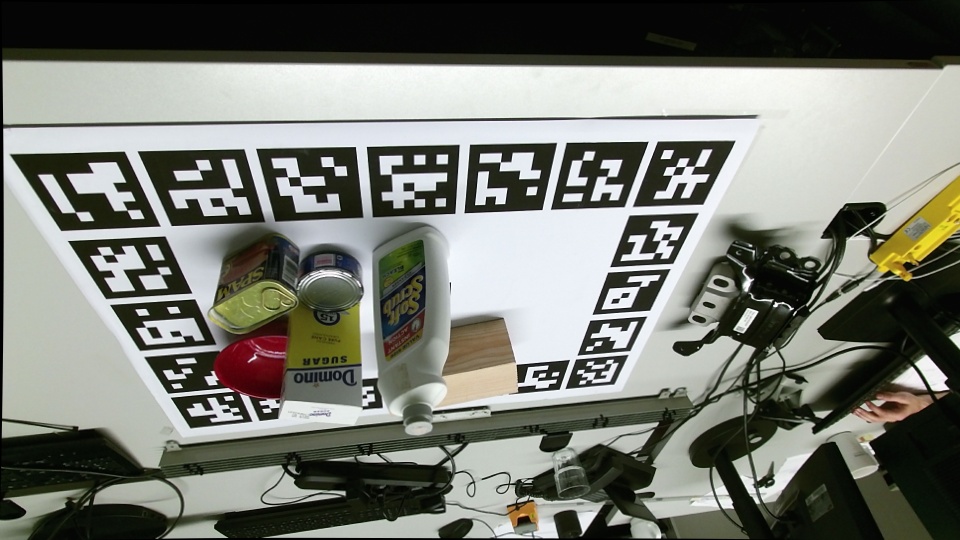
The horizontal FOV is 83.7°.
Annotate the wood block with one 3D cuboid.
[{"bbox_3d":[-0.046,0.162,0.845,0.207,0.089,0.091,-10,132,-2],"label":"wood block"}]

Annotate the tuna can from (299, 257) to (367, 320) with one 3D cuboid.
[{"bbox_3d":[-0.190,0.024,0.699,0.086,0.033,0.086,-7,133,-8],"label":"tuna can"}]

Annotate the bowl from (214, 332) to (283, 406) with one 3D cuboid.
[{"bbox_3d":[-0.300,0.138,0.778,0.162,0.055,0.162,-10,137,-9],"label":"bowl"}]

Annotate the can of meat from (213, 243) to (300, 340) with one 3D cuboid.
[{"bbox_3d":[-0.270,0.025,0.654,0.102,0.083,0.058,-25,139,13],"label":"can of meat"}]

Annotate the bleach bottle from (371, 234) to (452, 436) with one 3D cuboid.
[{"bbox_3d":[-0.072,0.074,0.628,0.103,0.249,0.068,-23,137,9],"label":"bleach bottle"}]

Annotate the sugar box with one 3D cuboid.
[{"bbox_3d":[-0.205,0.119,0.691,0.093,0.175,0.045,10,130,-27],"label":"sugar box"}]
